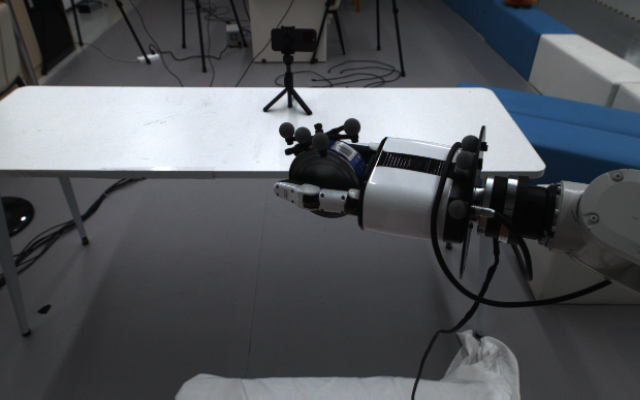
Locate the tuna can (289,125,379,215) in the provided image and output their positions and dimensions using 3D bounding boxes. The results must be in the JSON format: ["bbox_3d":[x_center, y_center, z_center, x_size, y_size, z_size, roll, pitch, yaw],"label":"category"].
[{"bbox_3d":[0.013,-0.026,0.542,0.085,0.085,0.034,17,37,20],"label":"tuna can"}]
